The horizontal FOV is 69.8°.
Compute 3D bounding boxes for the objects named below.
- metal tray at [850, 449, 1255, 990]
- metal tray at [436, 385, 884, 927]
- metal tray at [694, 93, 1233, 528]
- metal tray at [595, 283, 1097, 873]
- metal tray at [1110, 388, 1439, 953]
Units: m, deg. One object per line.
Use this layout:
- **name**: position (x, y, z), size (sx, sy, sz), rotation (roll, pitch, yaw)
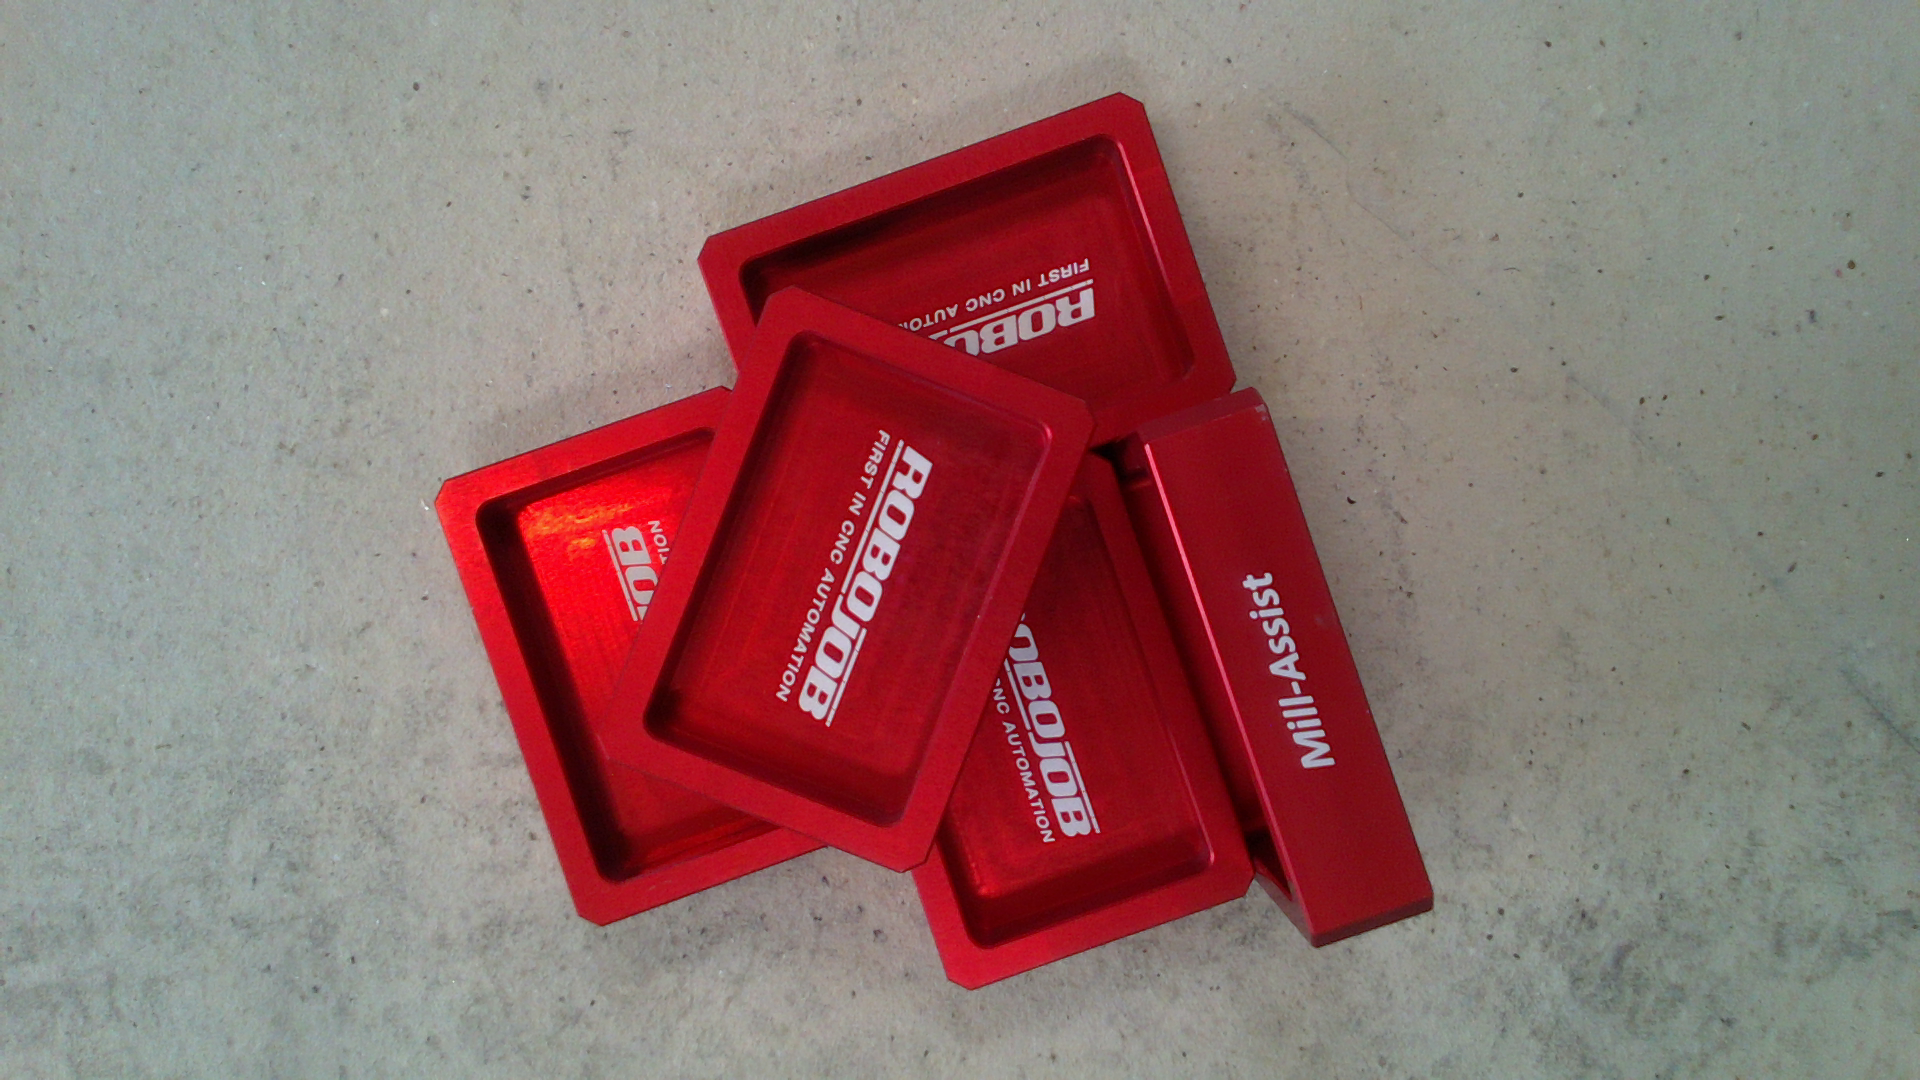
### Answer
- **metal tray**: position (0.019, 0.049, 0.391), size (0.090, 0.030, 0.130), rotation (-19, 91, 1)
- **metal tray**: position (-0.082, 0.032, 0.392), size (0.090, 0.030, 0.130), rotation (-19, 90, 0)
- **metal tray**: position (0.001, -0.062, 0.394), size (0.130, 0.030, 0.090), rotation (-19, 90, 1)
- **metal tray**: position (-0.029, 0.010, 0.364), size (0.090, 0.030, 0.130), rotation (22, 91, 0)
- **metal tray**: position (0.078, 0.030, 0.361), size (0.030, 0.090, 0.130), rotation (-18, 91, 0)
